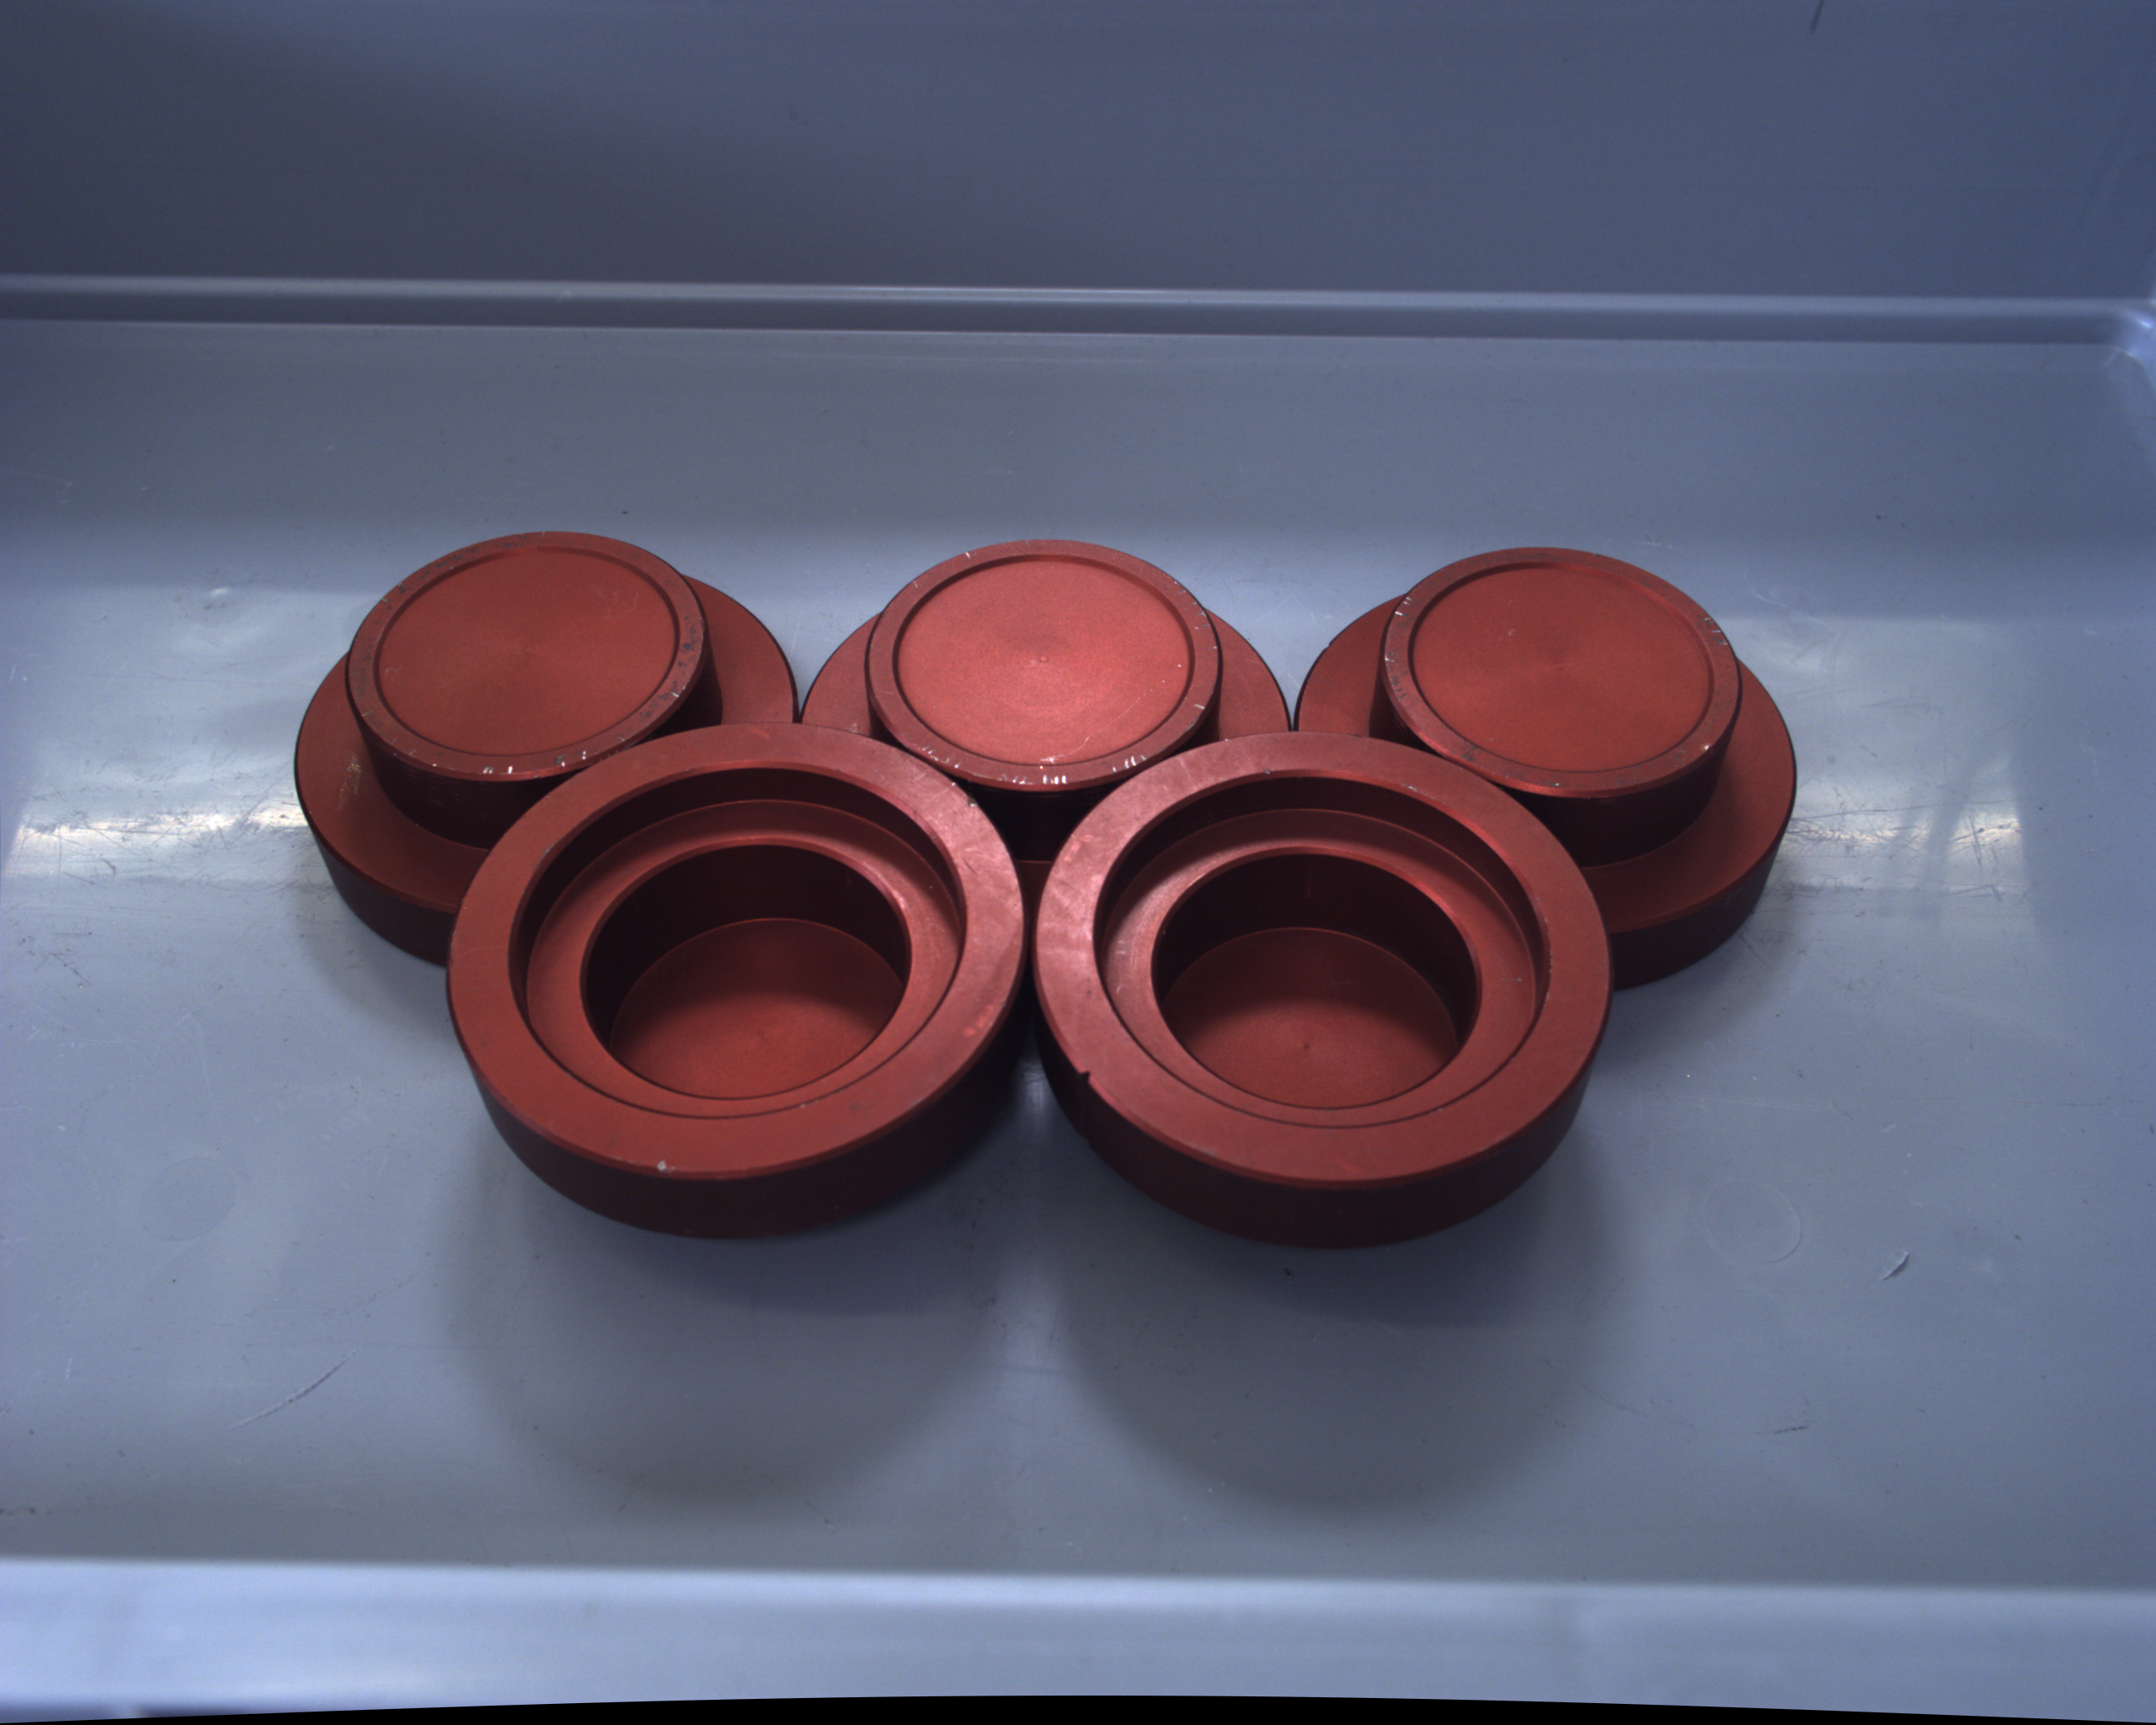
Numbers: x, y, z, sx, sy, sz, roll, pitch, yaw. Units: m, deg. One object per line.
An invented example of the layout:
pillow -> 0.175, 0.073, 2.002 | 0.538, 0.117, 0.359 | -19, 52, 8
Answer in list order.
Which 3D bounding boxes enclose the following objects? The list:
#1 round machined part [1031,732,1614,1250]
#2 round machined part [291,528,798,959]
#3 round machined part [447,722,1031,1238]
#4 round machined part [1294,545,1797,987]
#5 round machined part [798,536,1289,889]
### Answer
round machined part -> 0.041, 0.026, 0.370 | 0.099, 0.042, 0.098 | 0, 50, 0
round machined part -> -0.105, -0.029, 0.414 | 0.099, 0.042, 0.098 | 1, 49, -1
round machined part -> -0.057, 0.024, 0.371 | 0.099, 0.042, 0.098 | 0, 50, 0
round machined part -> 0.092, -0.025, 0.412 | 0.099, 0.042, 0.098 | 0, 49, 0
round machined part -> -0.007, -0.027, 0.414 | 0.099, 0.042, 0.098 | 0, 49, 0
